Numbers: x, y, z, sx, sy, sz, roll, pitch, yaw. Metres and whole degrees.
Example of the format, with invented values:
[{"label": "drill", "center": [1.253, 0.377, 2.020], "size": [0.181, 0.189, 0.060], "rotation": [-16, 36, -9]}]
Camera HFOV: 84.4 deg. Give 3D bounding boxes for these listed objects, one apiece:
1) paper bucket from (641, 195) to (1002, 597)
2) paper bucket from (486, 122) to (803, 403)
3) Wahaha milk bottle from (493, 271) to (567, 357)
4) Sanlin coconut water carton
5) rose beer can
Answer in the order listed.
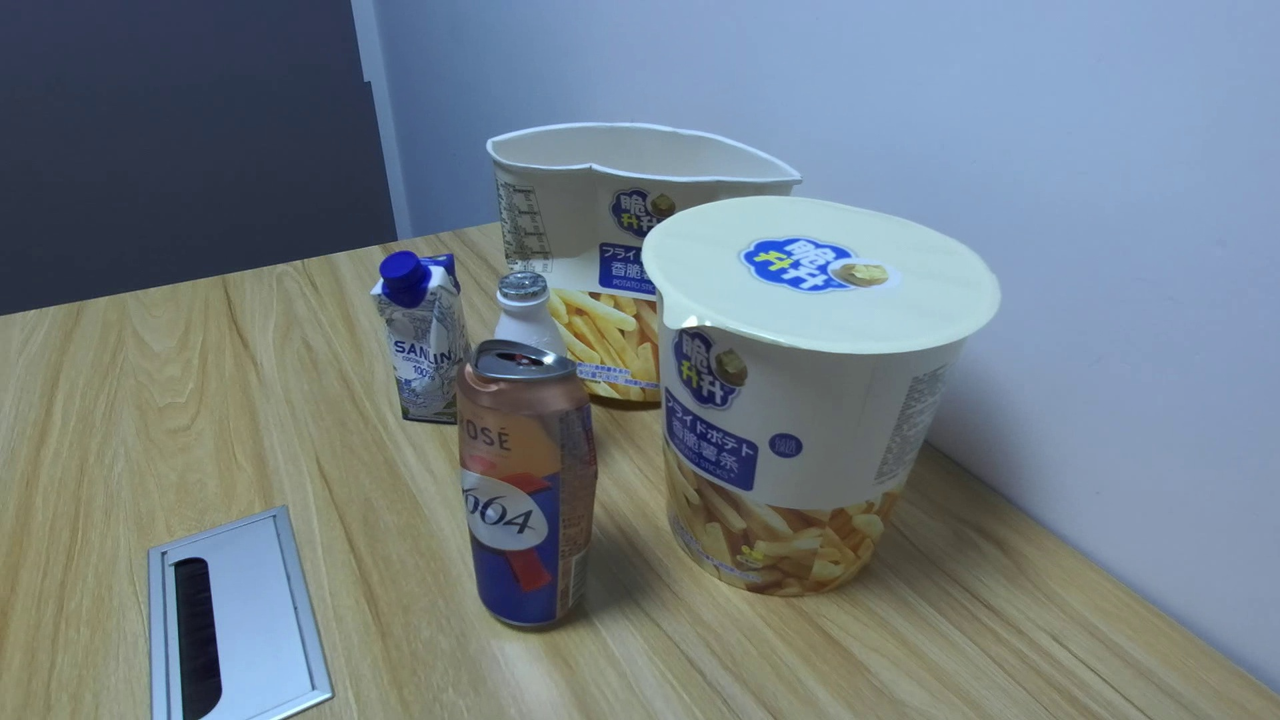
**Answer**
[{"label": "paper bucket", "center": [0.095, 0.025, 0.437], "size": [0.198, 0.195, 0.198], "rotation": [1, 34, 0]}, {"label": "paper bucket", "center": [-0.002, -0.079, 0.582], "size": [0.218, 0.199, 0.147], "rotation": [-8, 35, -13]}, {"label": "Wahaha milk bottle", "center": [-0.078, 0.007, 0.500], "size": [0.053, 0.147, 0.053], "rotation": [1, 39, 0]}, {"label": "Sanlin coconut water carton", "center": [-0.163, -0.021, 0.544], "size": [0.060, 0.144, 0.070], "rotation": [4, 33, 8]}, {"label": "rose beer can", "center": [-0.064, 0.071, 0.392], "size": [0.069, 0.168, 0.069], "rotation": [-3, 29, -12]}]
